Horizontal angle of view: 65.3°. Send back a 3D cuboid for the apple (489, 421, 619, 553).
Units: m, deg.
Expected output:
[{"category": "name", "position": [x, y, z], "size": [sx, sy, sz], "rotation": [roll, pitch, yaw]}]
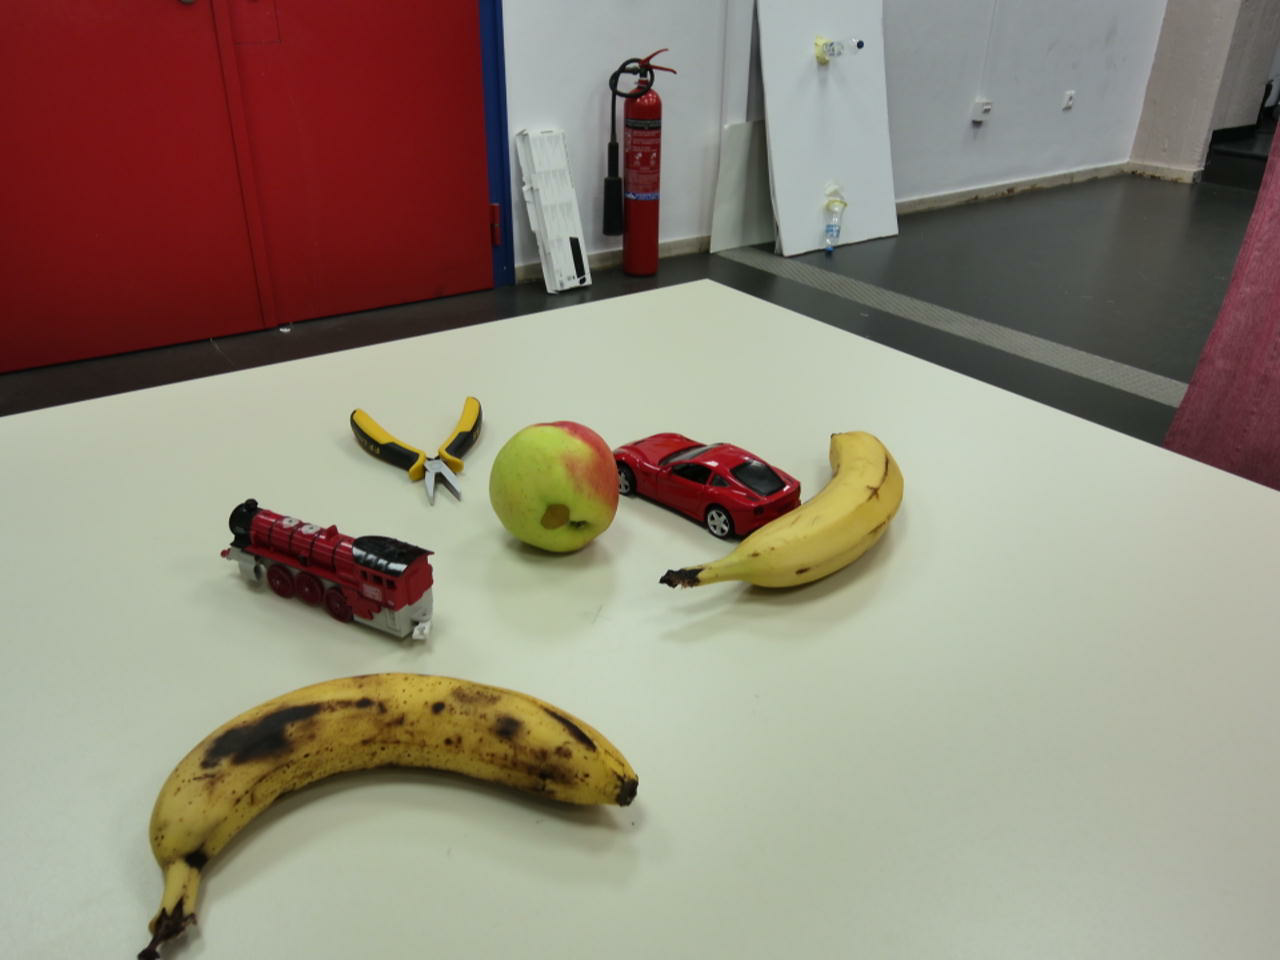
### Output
[{"category": "apple", "position": [-0.048, 0.003, 0.578], "size": [0.075, 0.074, 0.075], "rotation": [18, 30, 30]}]
